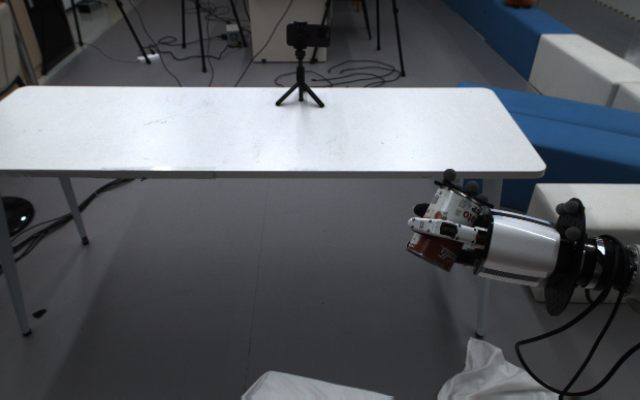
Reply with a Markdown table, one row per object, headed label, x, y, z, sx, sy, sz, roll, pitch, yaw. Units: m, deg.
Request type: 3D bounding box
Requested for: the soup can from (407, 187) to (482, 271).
| label | x | y | z | sx | sy | sz | roll | pitch | yaw |
| --- | --- | --- | --- | --- | --- | --- | --- | --- | --- |
| soup can | 0.175 | 0.039 | 0.675 | 0.067 | 0.101 | 0.067 | 28 | -3 | 1 |
